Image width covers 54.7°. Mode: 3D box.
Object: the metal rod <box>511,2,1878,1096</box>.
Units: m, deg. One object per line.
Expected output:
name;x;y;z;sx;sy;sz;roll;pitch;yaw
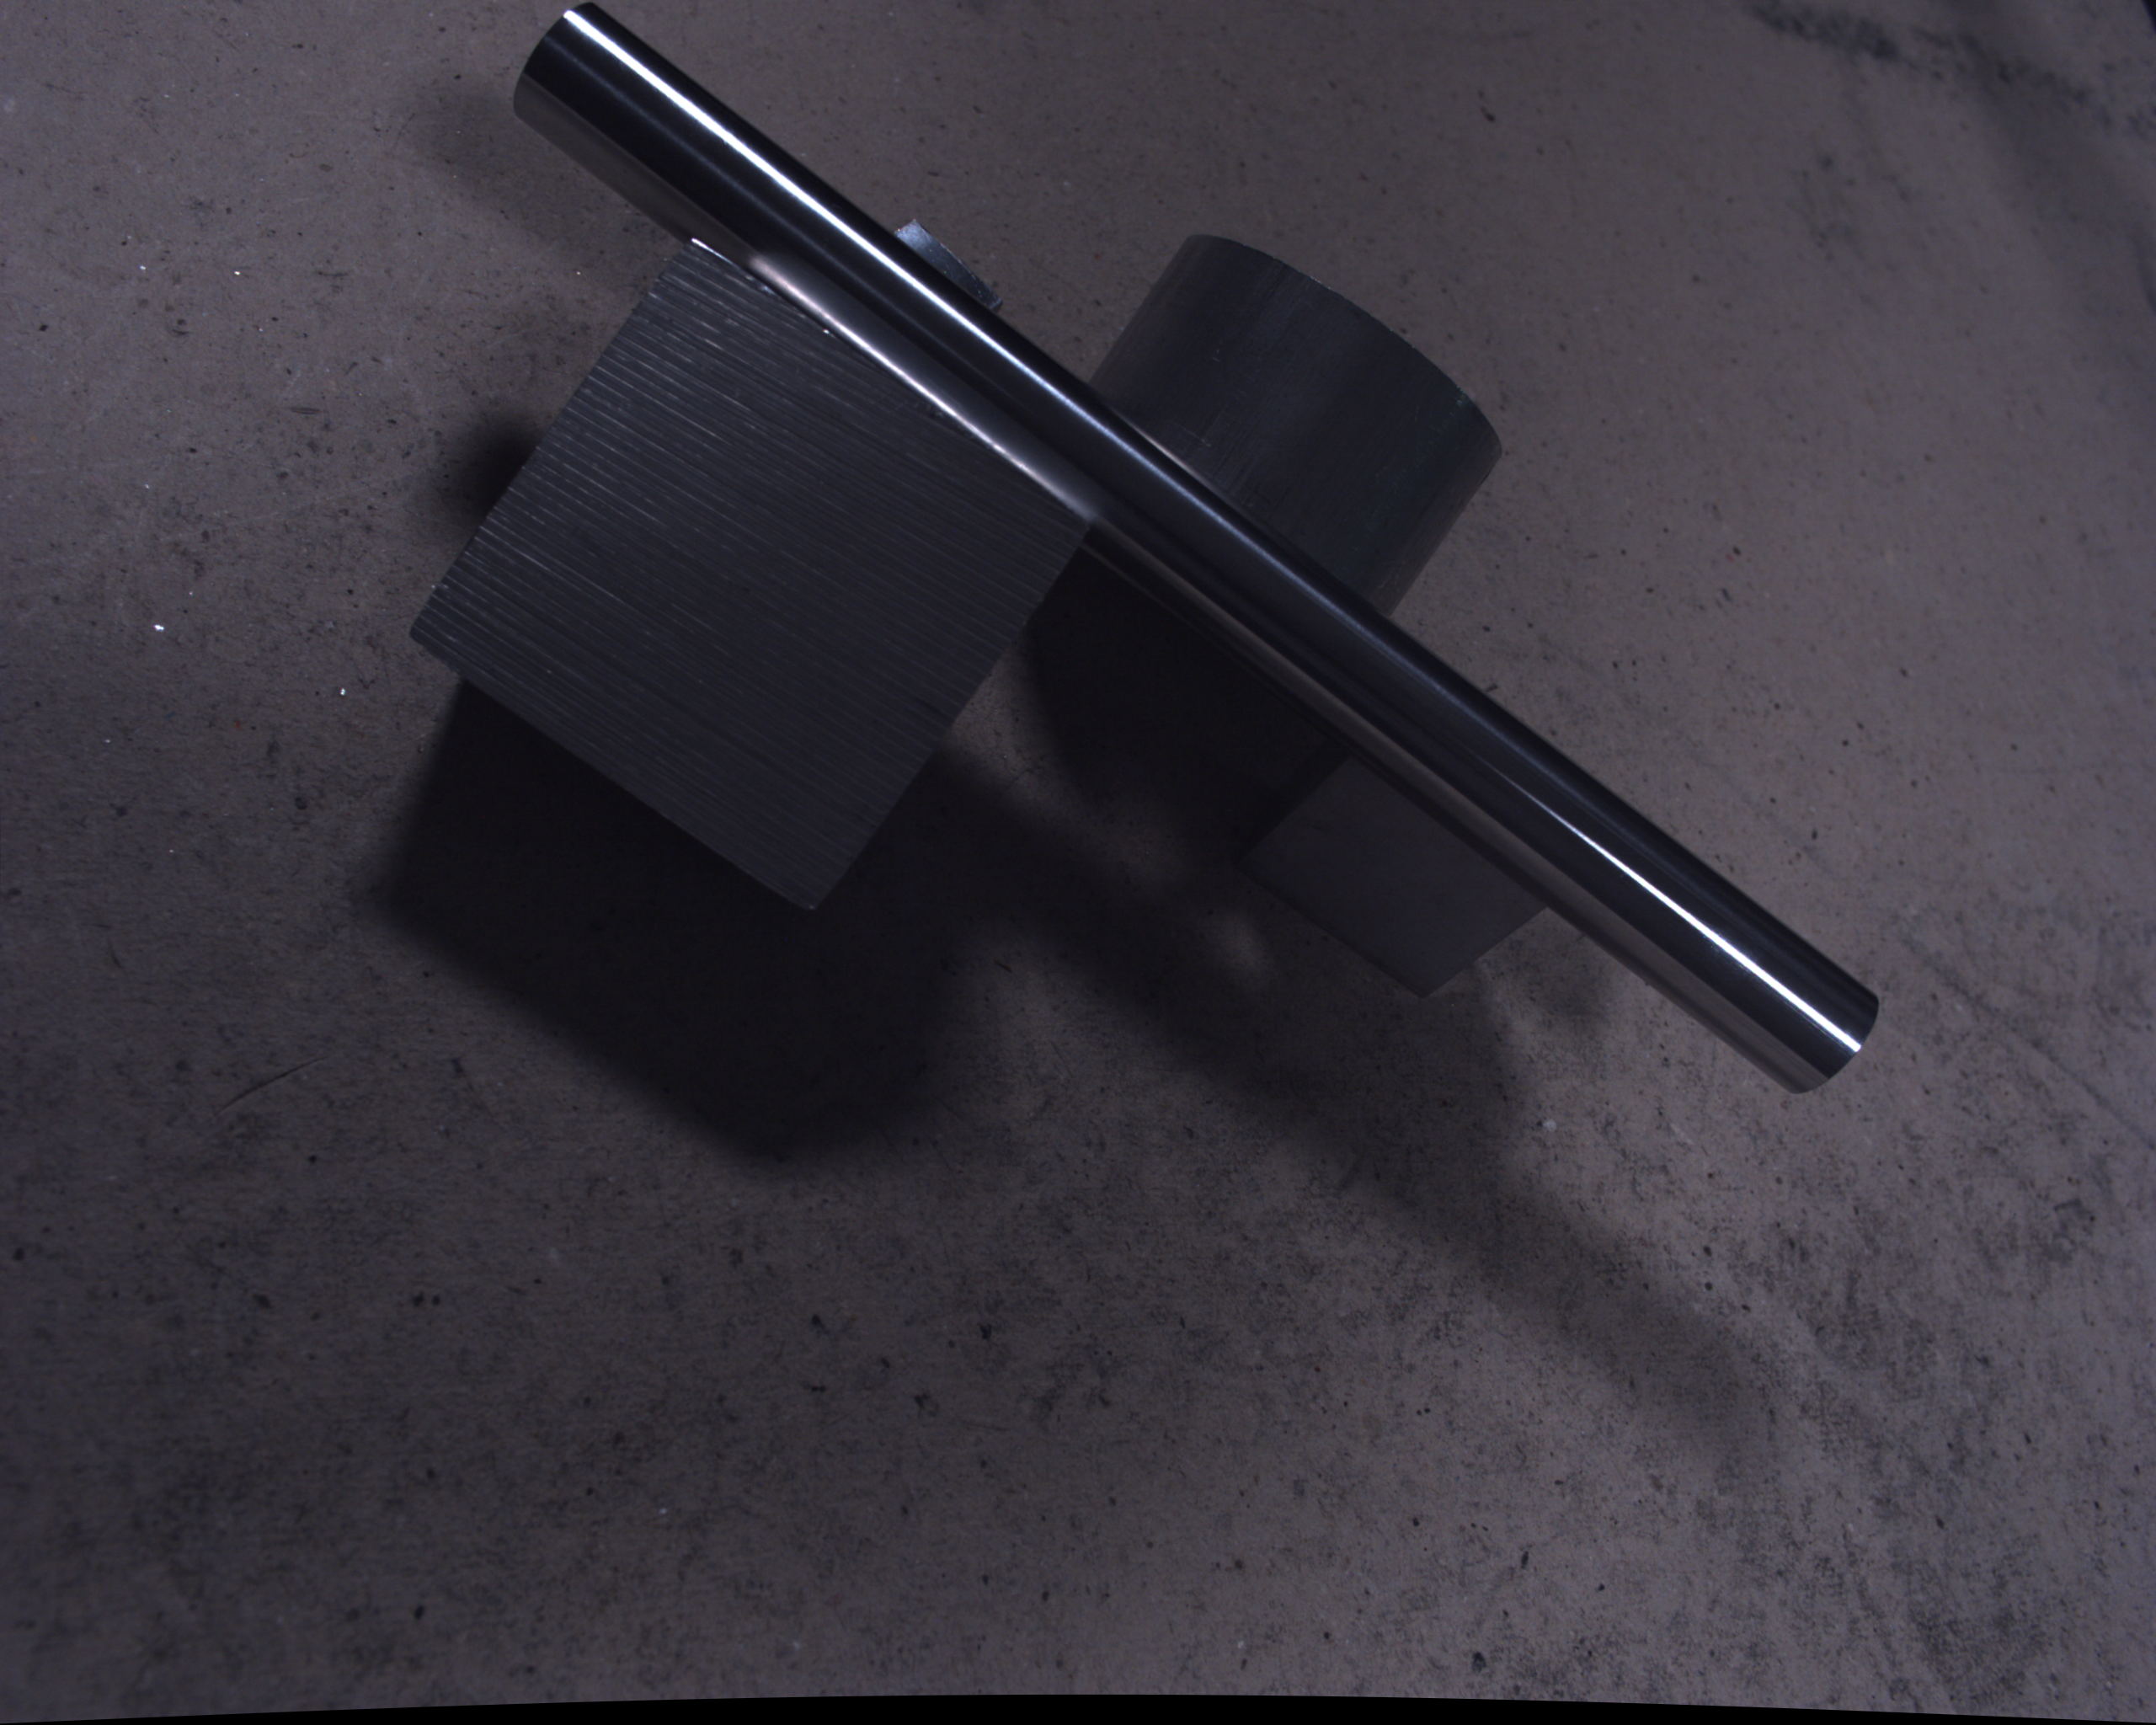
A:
metal rod;0.025;-0.056;0.390;0.301;0.025;0.025;37;51;-4

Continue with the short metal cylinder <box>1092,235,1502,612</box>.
short metal cylinder;0.041;-0.087;0.439;0.080;0.080;0.050;34;93;-7

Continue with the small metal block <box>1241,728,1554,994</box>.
small metal block;0.070;-0.006;0.429;0.050;0.050;0.025;35;51;-5

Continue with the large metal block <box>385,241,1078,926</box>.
large metal block;-0.058;-0.047;0.365;0.080;0.050;0.080;35;91;-6

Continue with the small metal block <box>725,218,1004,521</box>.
small metal block;-0.048;-0.096;0.424;0.025;0.050;0.050;44;51;1
